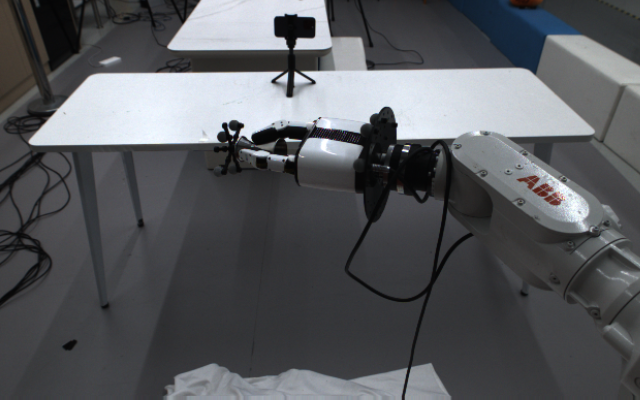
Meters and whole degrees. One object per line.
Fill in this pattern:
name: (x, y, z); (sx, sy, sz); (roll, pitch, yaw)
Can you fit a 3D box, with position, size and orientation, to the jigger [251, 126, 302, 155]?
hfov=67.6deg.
jigger: (-0.084, -0.077, 0.725); (0.071, 0.043, 0.043); (7, 34, 23)
